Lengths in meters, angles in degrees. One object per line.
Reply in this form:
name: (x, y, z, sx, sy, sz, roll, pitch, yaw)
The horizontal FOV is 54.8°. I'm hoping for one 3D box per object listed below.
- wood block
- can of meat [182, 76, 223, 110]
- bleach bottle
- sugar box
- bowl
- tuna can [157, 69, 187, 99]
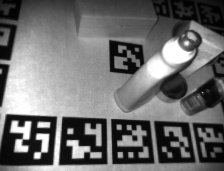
wood block: (0.013, -0.205, 0.596, 0.208, 0.089, 0.090, -3, 73, -19)
can of meat: (0.247, 0.017, 0.578, 0.103, 0.083, 0.057, -25, 73, -26)
bleach bottle: (0.088, -0.036, 0.455, 0.103, 0.250, 0.067, -20, 73, -22)
sugar box: (0.199, -0.089, 0.549, 0.093, 0.176, 0.045, 23, 65, -1)
bowl: (0.260, -0.133, 0.657, 0.162, 0.055, 0.161, 5, 66, -11)
tuna can: (0.160, -0.008, 0.582, 0.086, 0.033, 0.085, 6, 69, -14)
